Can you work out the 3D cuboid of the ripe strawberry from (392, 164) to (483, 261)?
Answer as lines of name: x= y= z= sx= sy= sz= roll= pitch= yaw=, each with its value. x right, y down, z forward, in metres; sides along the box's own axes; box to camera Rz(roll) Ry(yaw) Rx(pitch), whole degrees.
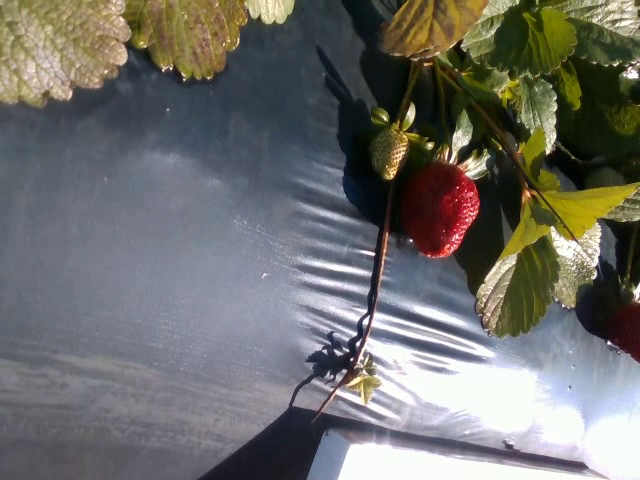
ripe strawberry: x=0.053 y=-0.012 z=0.271 sx=0.043 sy=0.053 sz=0.042 roll=-28 pitch=-45 yaw=28
